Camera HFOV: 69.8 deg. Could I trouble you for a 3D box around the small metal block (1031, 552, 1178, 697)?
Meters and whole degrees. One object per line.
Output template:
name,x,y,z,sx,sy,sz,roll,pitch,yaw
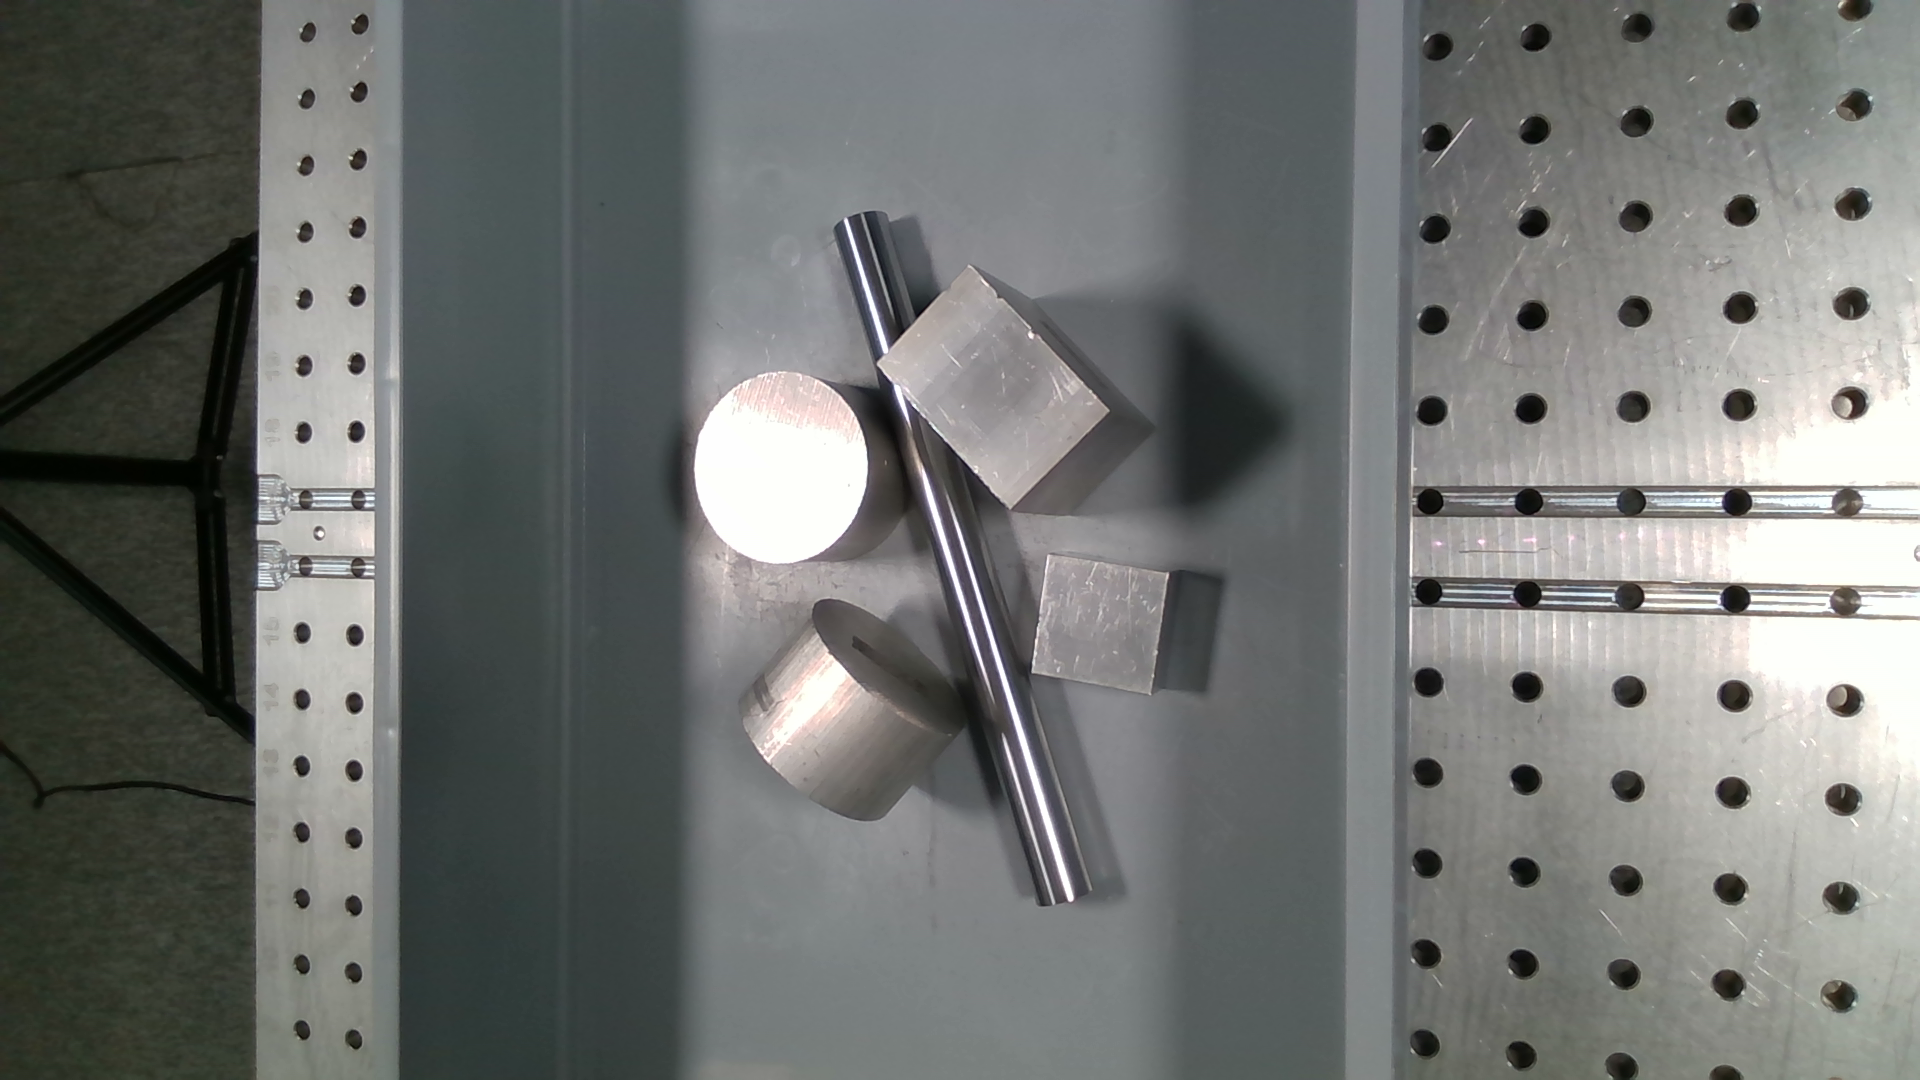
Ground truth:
small metal block,0.060,0.034,0.563,0.050,0.025,0.050,9,94,20

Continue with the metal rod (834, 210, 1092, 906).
metal rod,0.000,0.005,0.585,0.025,0.025,0.300,-19,84,19

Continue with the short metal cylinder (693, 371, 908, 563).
short metal cylinder,-0.067,-0.030,0.595,0.080,0.050,0.080,0,90,20

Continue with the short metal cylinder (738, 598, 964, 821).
short metal cylinder,-0.045,0.070,0.573,0.080,0.080,0.050,44,104,15

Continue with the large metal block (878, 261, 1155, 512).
large metal block,0.026,-0.058,0.546,0.050,0.080,0.080,-45,76,15
